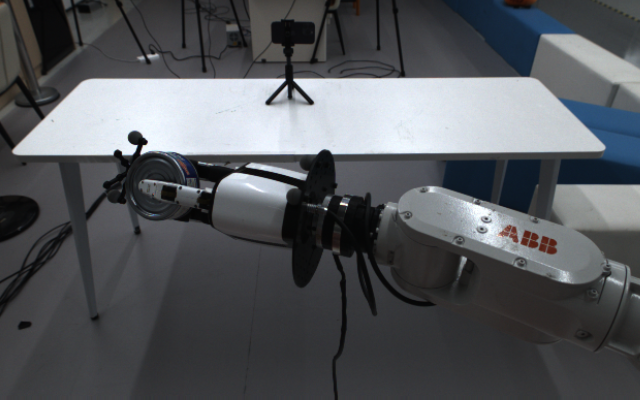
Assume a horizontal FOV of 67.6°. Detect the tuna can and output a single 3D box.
[{"bbox_3d":[-0.192,-0.018,0.594,0.085,0.085,0.034,12,5,14],"label":"tuna can"}]
